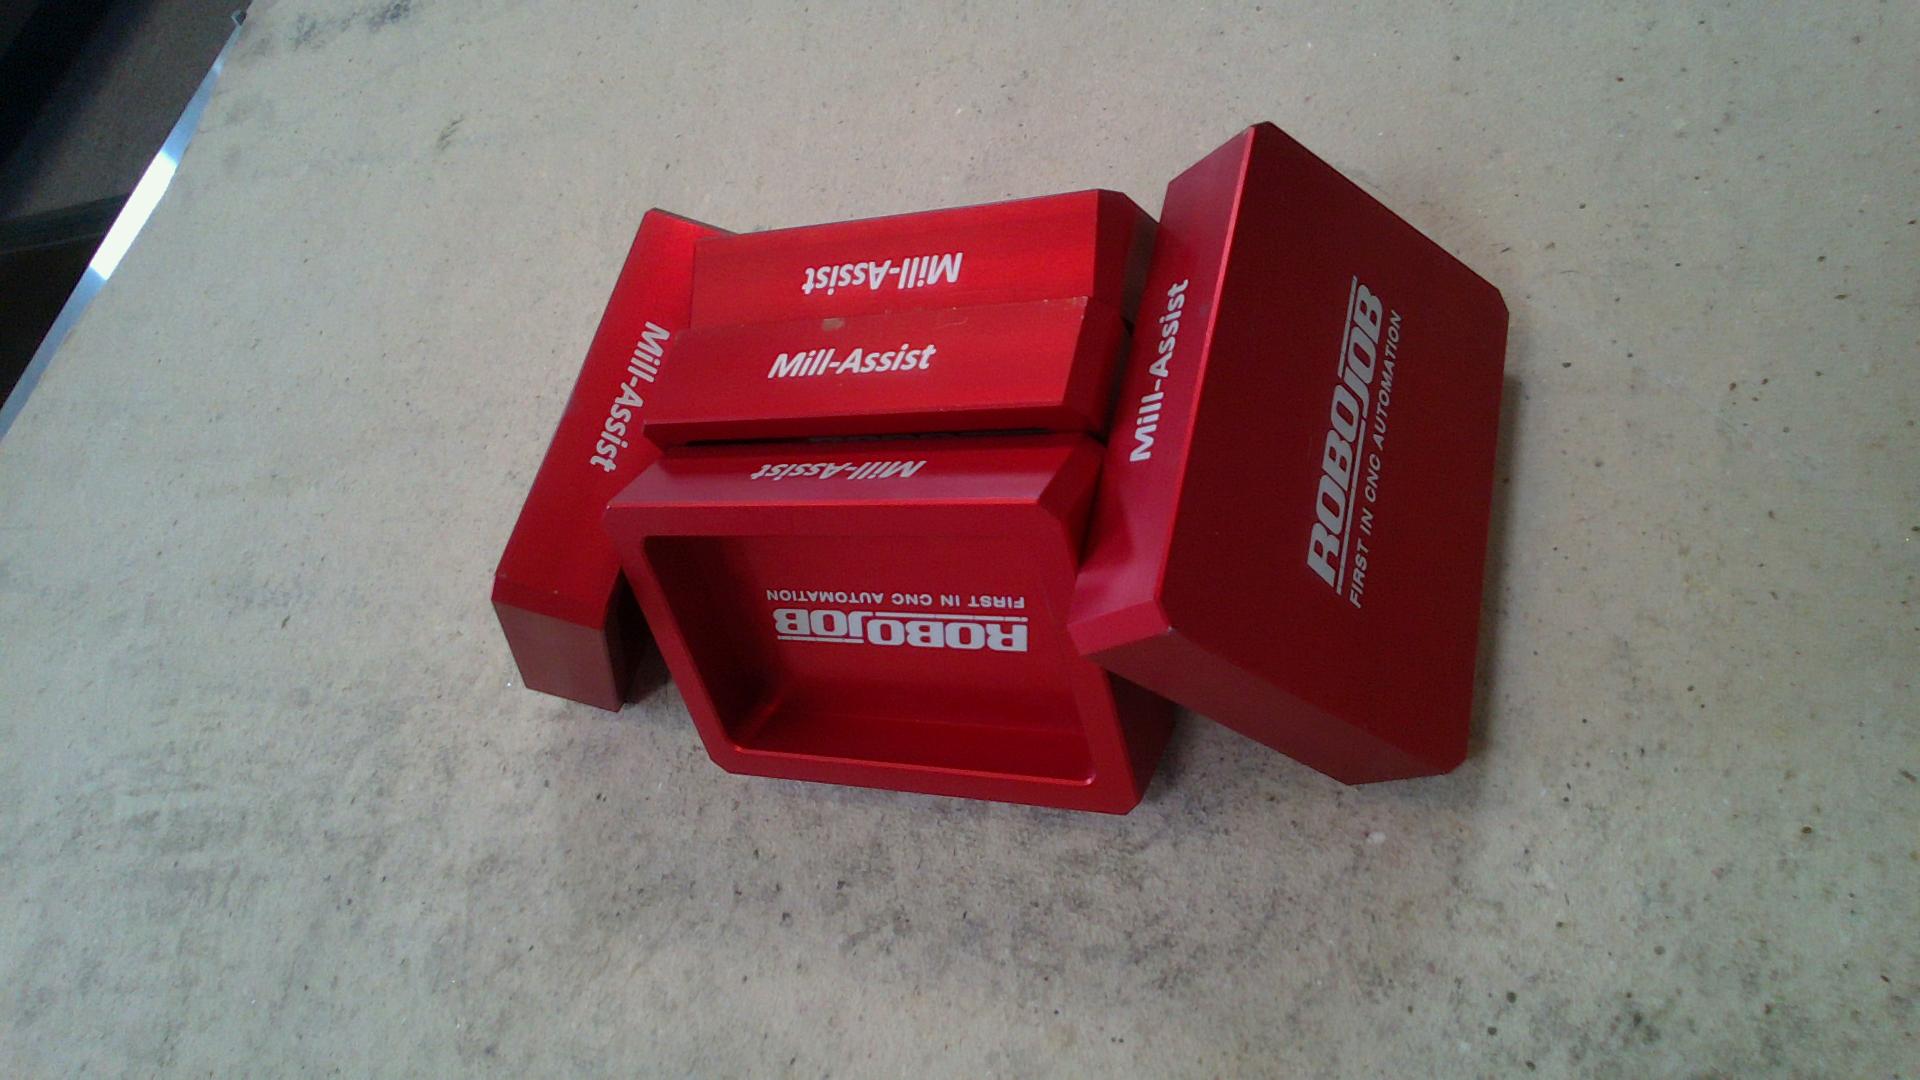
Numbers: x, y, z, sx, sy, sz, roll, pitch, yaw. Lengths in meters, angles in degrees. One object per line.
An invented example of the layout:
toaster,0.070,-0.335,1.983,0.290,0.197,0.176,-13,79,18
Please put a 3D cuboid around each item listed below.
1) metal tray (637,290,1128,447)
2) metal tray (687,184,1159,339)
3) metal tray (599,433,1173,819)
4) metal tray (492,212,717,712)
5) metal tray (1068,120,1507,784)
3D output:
metal tray,-0.008,-0.023,0.370,0.130,0.090,0.030,0,62,28
metal tray,0.000,-0.064,0.388,0.130,0.090,0.030,0,84,29
metal tray,-0.019,0.021,0.348,0.130,0.090,0.030,0,33,29
metal tray,-0.099,-0.022,0.421,0.030,0.090,0.130,17,65,-4
metal tray,0.081,-0.020,0.319,0.030,0.090,0.130,-25,44,55
